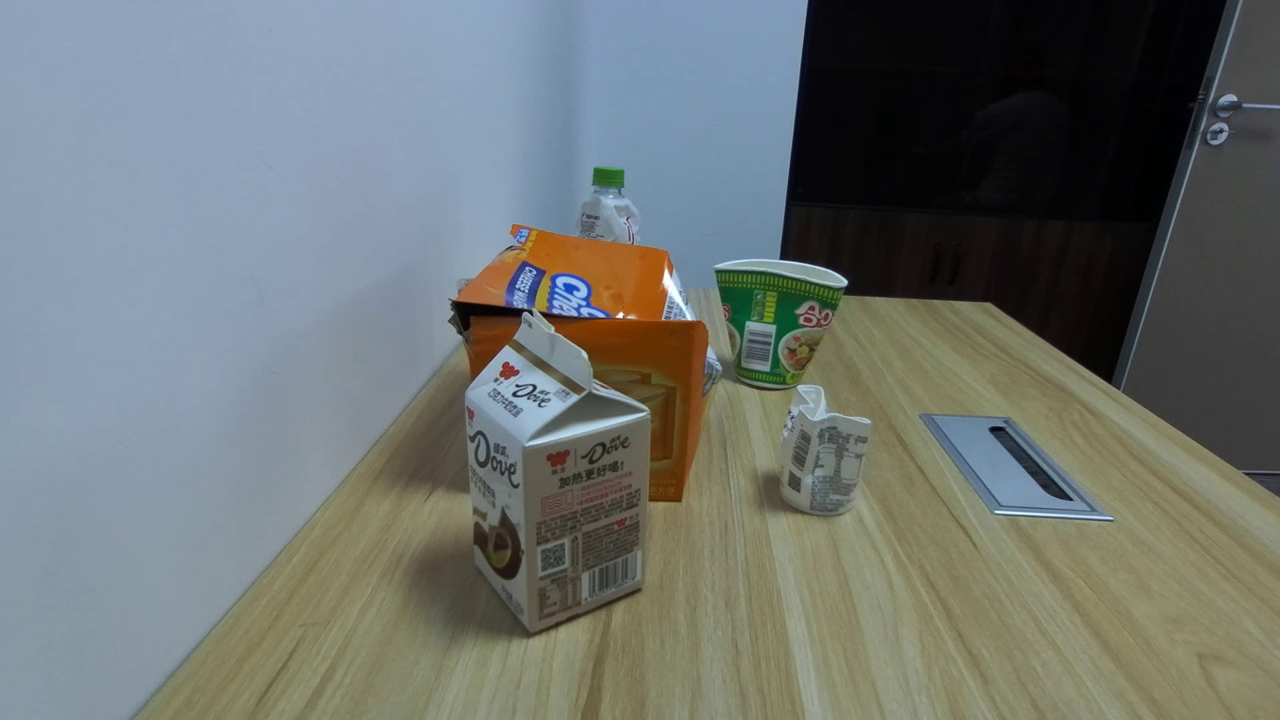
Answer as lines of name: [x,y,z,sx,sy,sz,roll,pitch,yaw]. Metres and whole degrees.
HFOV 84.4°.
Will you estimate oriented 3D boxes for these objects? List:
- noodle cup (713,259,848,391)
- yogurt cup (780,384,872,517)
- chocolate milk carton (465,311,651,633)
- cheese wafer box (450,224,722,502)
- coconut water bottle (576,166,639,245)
noodle cup: [0.130,-0.035,0.673,0.070,0.111,0.114,-19,31,-41]
yogurt cup: [0.123,0.061,0.478,0.055,0.072,0.055,3,22,7]
chocolate milk carton: [-0.043,0.052,0.375,0.074,0.148,0.075,-13,25,-32]
cheese wafer box: [-0.029,-0.012,0.552,0.191,0.145,0.218,2,21,-2]
coconut water bottle: [-0.032,-0.101,0.720,0.067,0.187,0.067,1,20,0]
